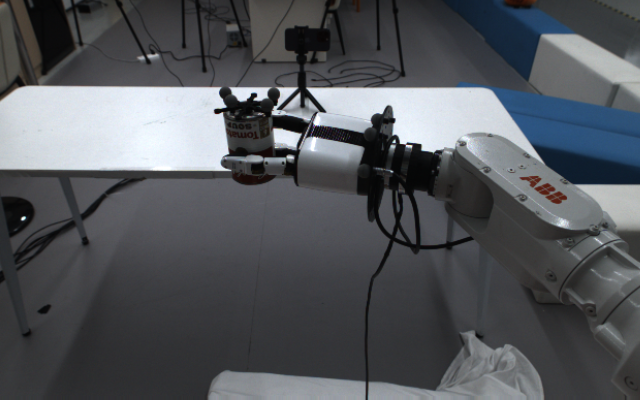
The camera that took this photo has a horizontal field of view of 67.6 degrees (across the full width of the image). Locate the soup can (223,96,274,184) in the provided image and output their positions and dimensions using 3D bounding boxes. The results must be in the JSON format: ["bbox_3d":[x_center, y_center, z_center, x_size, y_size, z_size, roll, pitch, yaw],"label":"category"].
[{"bbox_3d":[-0.098,-0.081,0.690,0.067,0.101,0.067,-2,33,1],"label":"soup can"}]
